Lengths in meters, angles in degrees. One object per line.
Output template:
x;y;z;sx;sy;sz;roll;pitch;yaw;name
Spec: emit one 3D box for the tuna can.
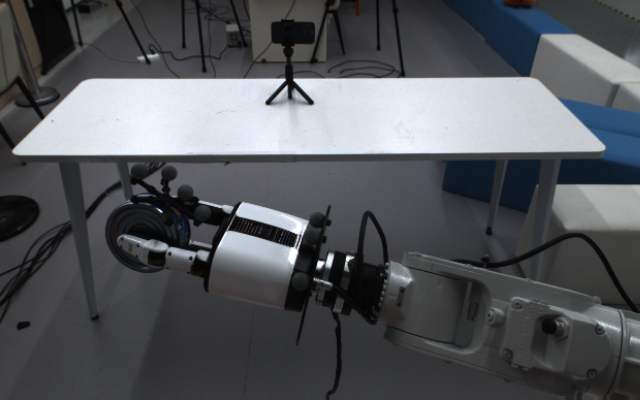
-0.187;0.043;0.534;0.085;0.085;0.034;6;19;6;tuna can
